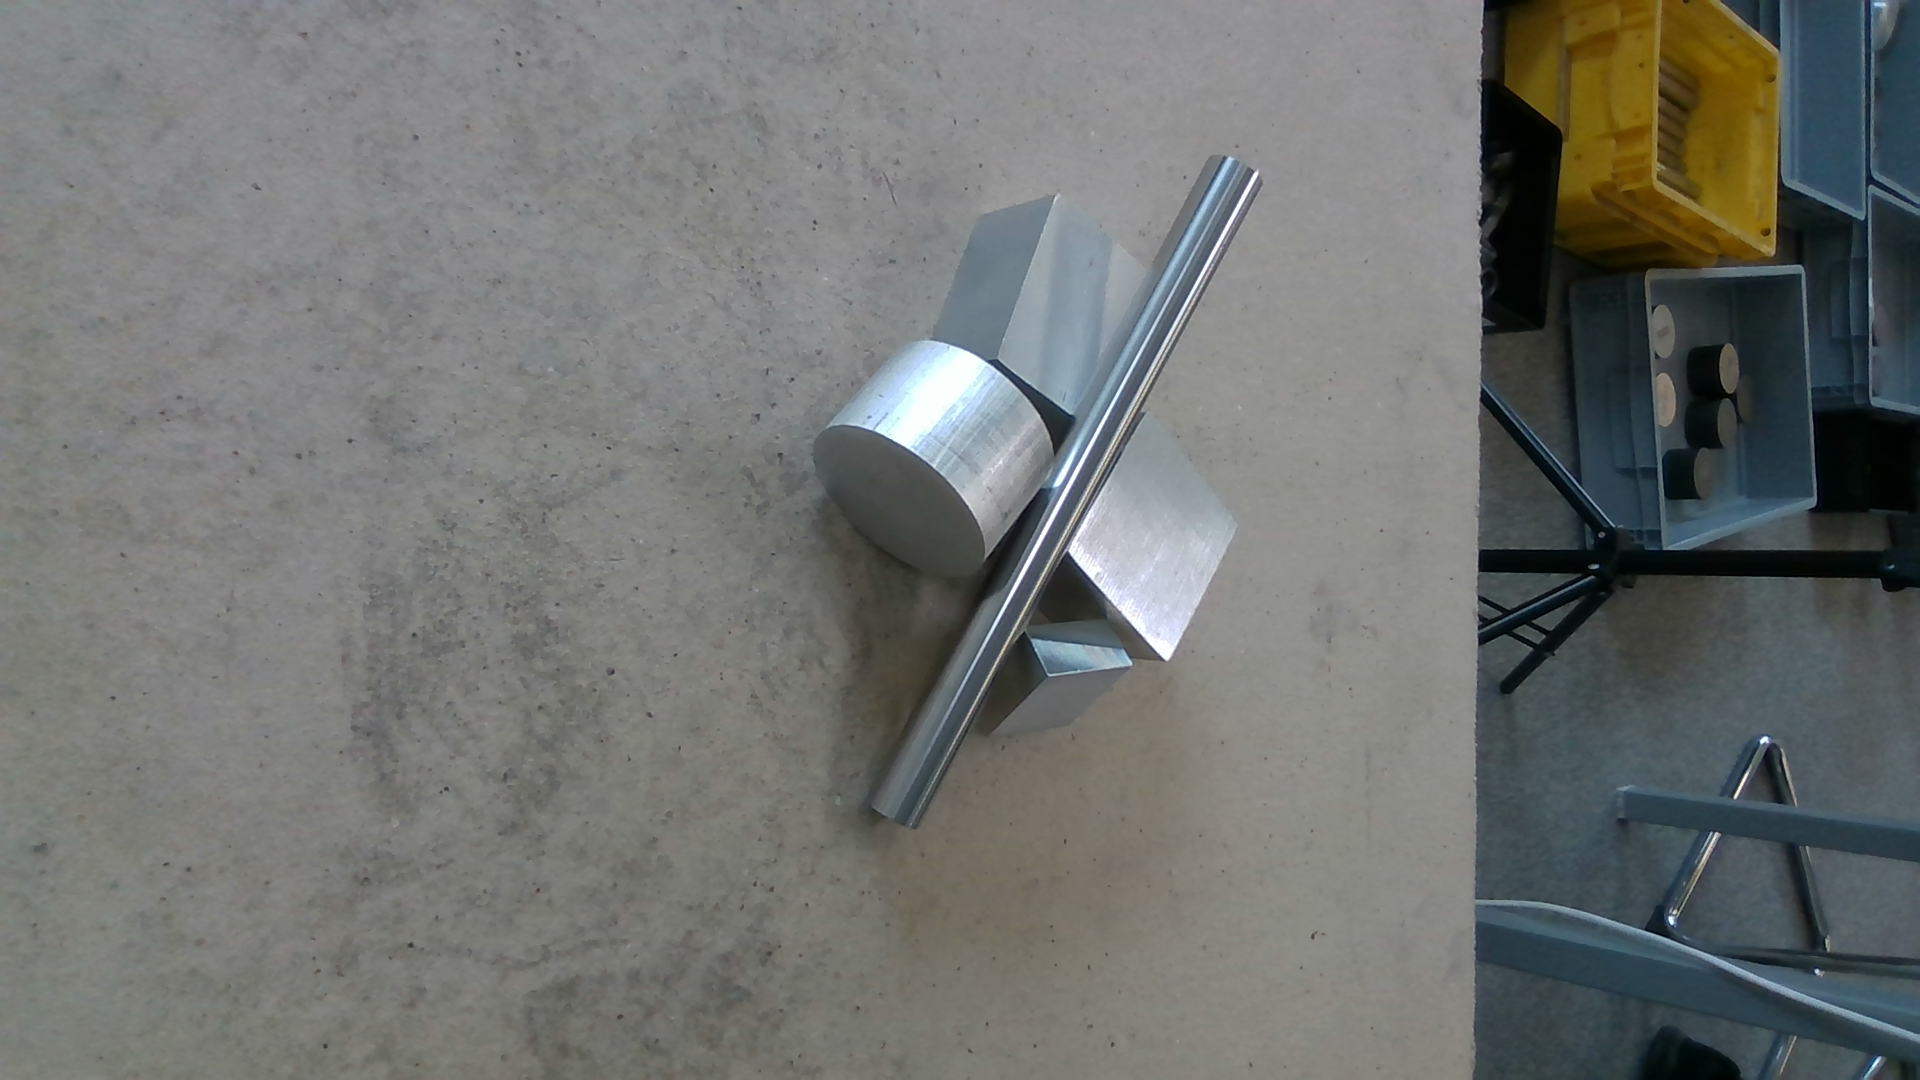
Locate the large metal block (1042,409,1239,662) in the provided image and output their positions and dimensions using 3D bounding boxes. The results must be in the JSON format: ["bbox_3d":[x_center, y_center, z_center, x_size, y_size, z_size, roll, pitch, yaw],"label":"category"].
[{"bbox_3d":[0.071,-0.002,0.624,0.080,0.050,0.080,47,62,-30],"label":"large metal block"}]

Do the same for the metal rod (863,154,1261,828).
[{"bbox_3d":[0.043,-0.021,0.566,0.025,0.025,0.300,30,88,-36],"label":"metal rod"}]

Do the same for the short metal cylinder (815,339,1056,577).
[{"bbox_3d":[-0.010,-0.031,0.539,0.050,0.080,0.080,-52,120,-28],"label":"short metal cylinder"}]

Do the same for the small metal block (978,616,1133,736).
[{"bbox_3d":[0.038,0.059,0.596,0.050,0.050,0.025,-3,56,-40],"label":"small metal block"}]

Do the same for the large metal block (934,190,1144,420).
[{"bbox_3d":[0.039,-0.092,0.600,0.080,0.050,0.080,31,71,-36],"label":"large metal block"}]
